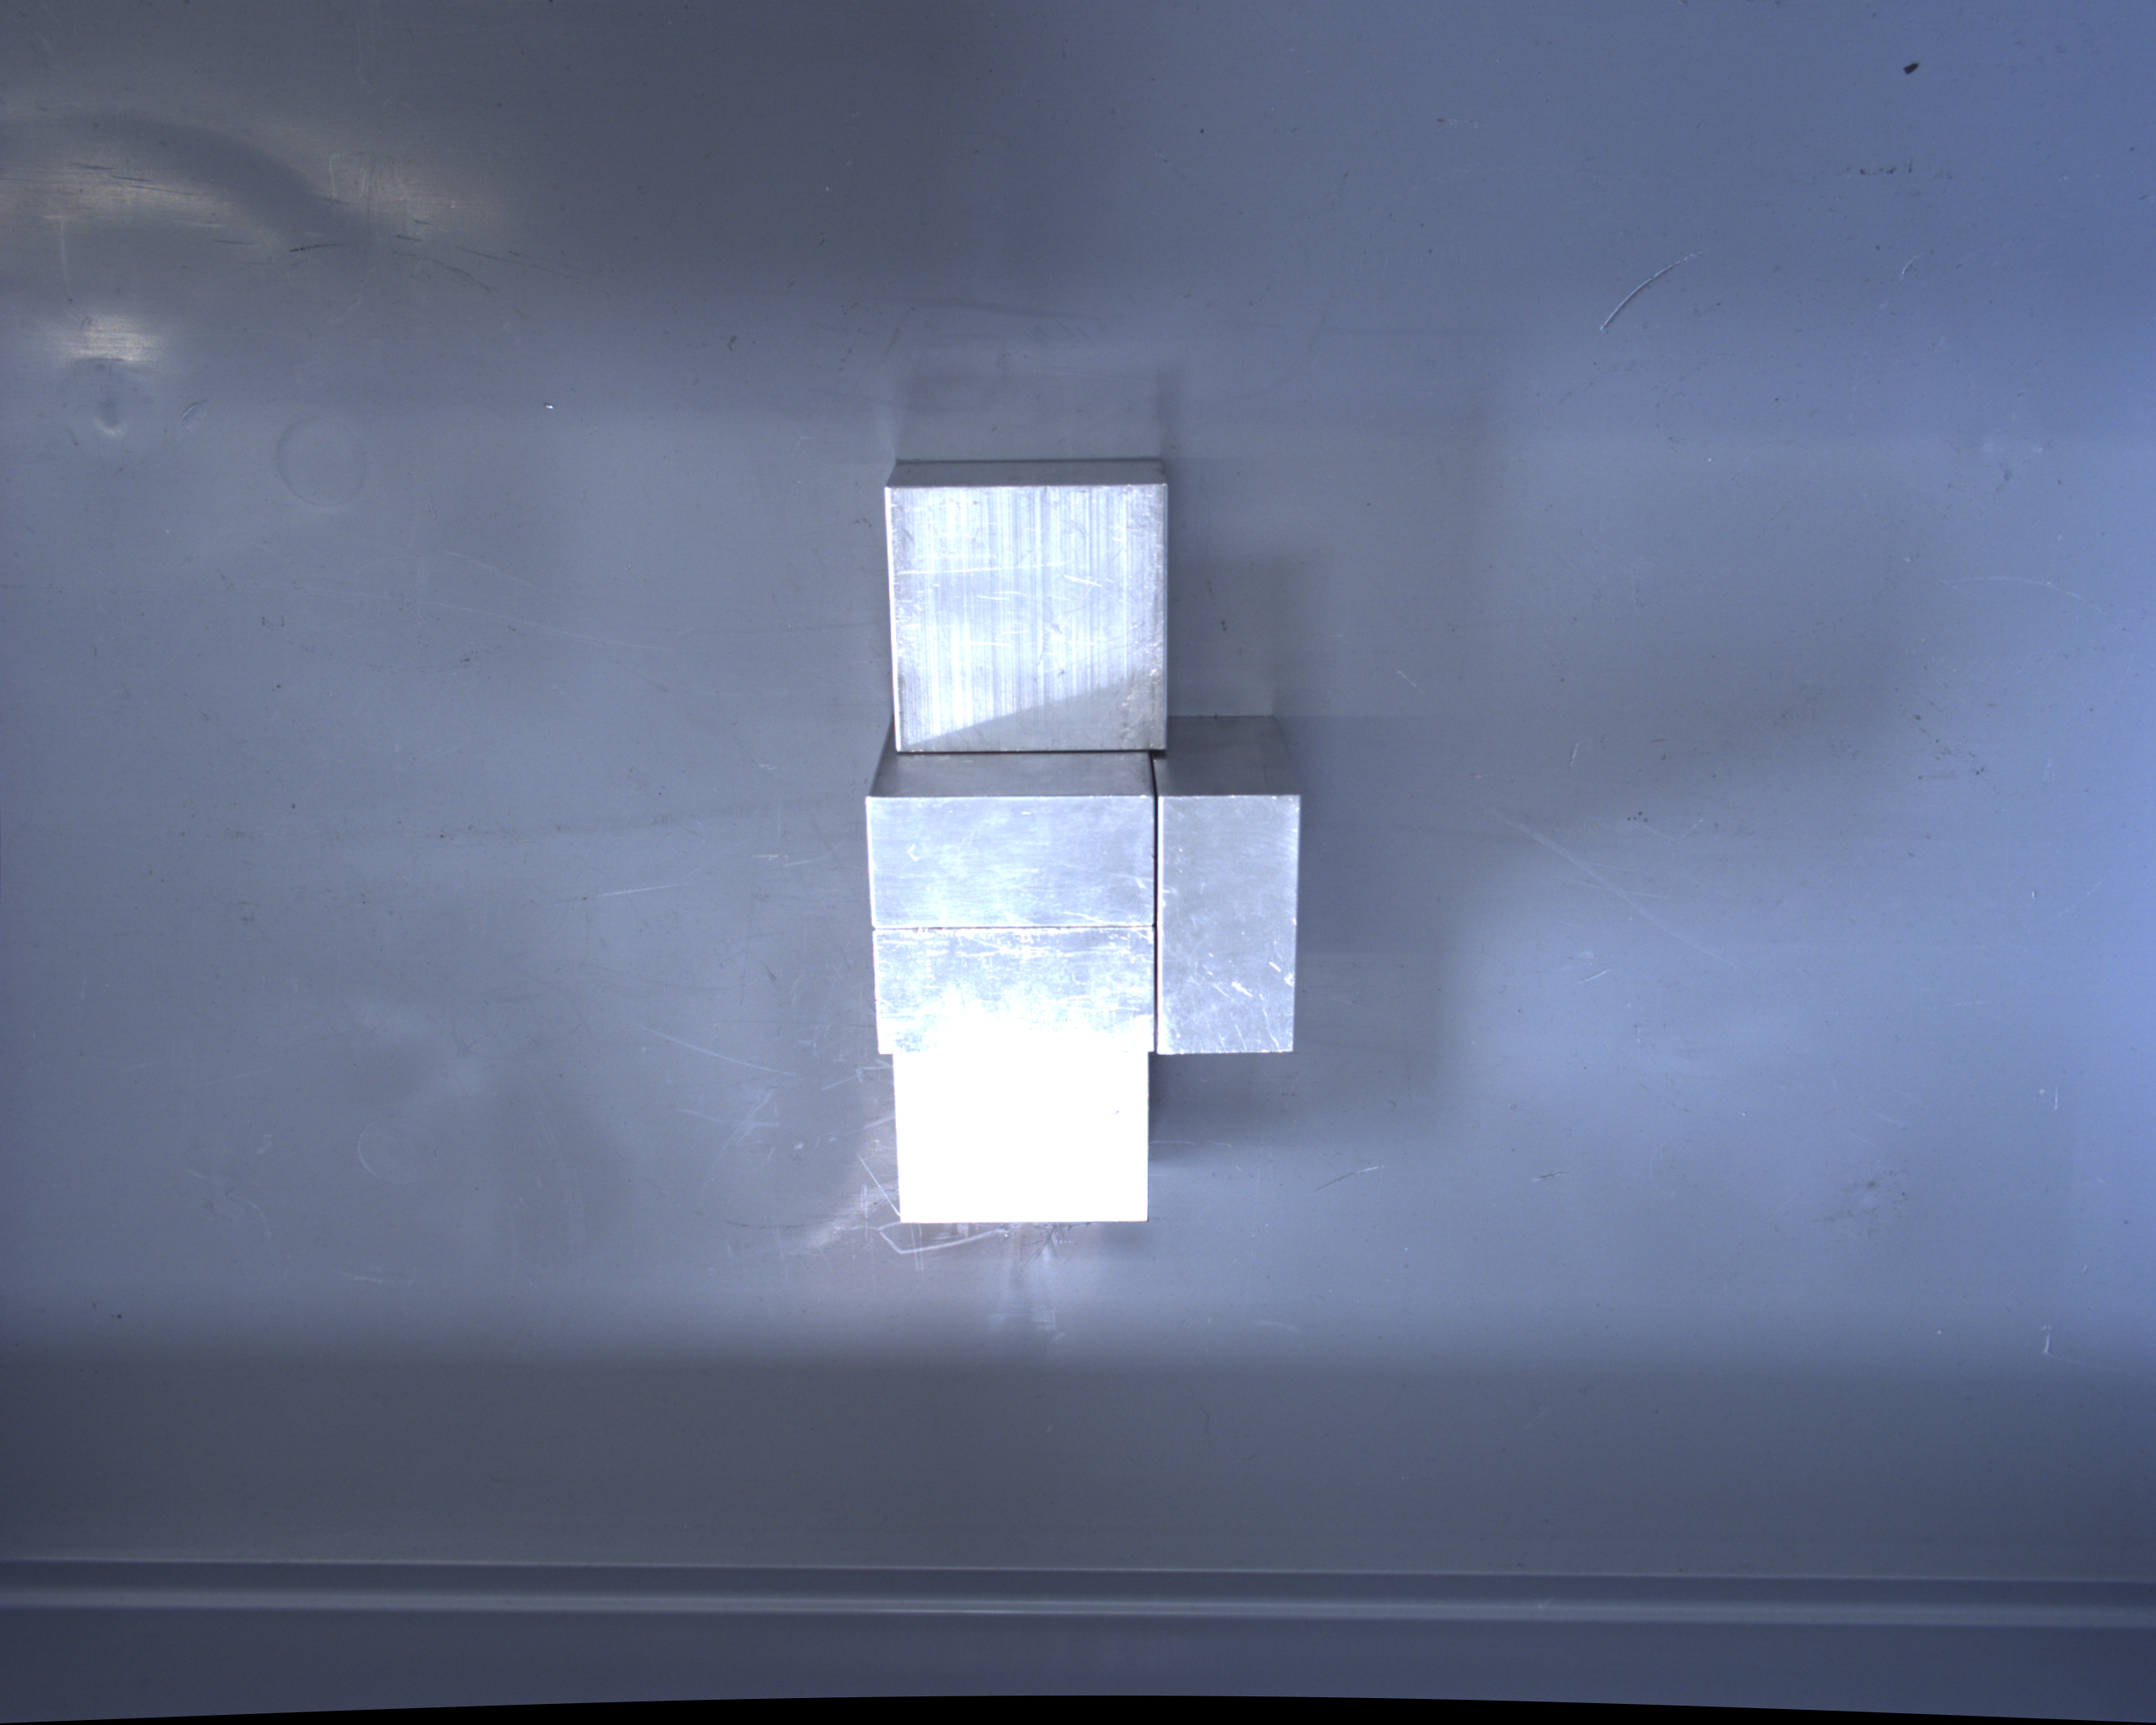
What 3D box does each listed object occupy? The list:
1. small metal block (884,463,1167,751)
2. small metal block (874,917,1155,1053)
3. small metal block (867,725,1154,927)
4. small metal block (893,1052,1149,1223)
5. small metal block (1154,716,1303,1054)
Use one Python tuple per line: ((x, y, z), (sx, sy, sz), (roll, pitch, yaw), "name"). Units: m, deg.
((-0.009, -0.048, 0.391), (0.050, 0.025, 0.050), (0, 110, 0), "small metal block")
((-0.011, 0.014, 0.401), (0.050, 0.050, 0.025), (0, 110, 0), "small metal block")
((-0.012, -0.009, 0.393), (0.050, 0.050, 0.025), (0, 110, 0), "small metal block")
((-0.011, 0.045, 0.426), (0.050, 0.025, 0.050), (0, 110, 0), "small metal block")
((0.027, 0.003, 0.397), (0.025, 0.050, 0.050), (0, 110, 0), "small metal block")
